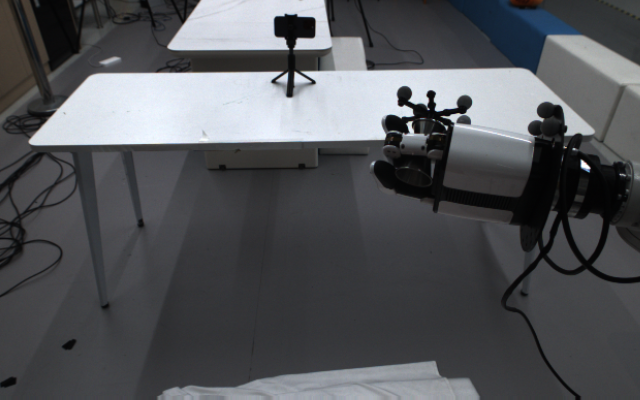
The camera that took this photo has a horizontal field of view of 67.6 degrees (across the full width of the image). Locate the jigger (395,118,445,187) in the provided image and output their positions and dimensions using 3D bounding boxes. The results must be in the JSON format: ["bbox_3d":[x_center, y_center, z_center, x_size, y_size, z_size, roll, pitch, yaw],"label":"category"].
[{"bbox_3d":[0.120,-0.055,0.556,0.043,0.043,0.071,13,69,15],"label":"jigger"}]
